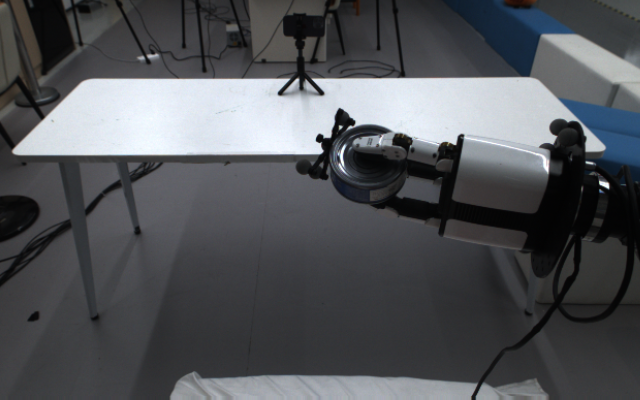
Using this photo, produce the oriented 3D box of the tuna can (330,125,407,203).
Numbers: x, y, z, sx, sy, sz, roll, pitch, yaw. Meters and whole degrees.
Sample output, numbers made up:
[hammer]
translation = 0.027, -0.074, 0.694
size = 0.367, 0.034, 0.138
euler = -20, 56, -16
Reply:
[tuna can]
translation = 0.056, -0.041, 0.532
size = 0.085, 0.034, 0.085
euler = -1, 61, 1
